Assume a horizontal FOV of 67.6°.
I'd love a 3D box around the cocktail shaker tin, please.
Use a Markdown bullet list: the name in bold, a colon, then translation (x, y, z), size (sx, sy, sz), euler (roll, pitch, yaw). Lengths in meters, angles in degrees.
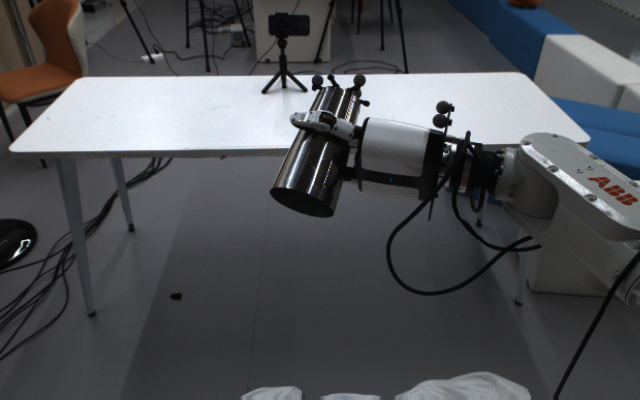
- **cocktail shaker tin**: translation (0.002, -0.071, 0.679), size (0.093, 0.093, 0.170), euler (13, 70, 15)
